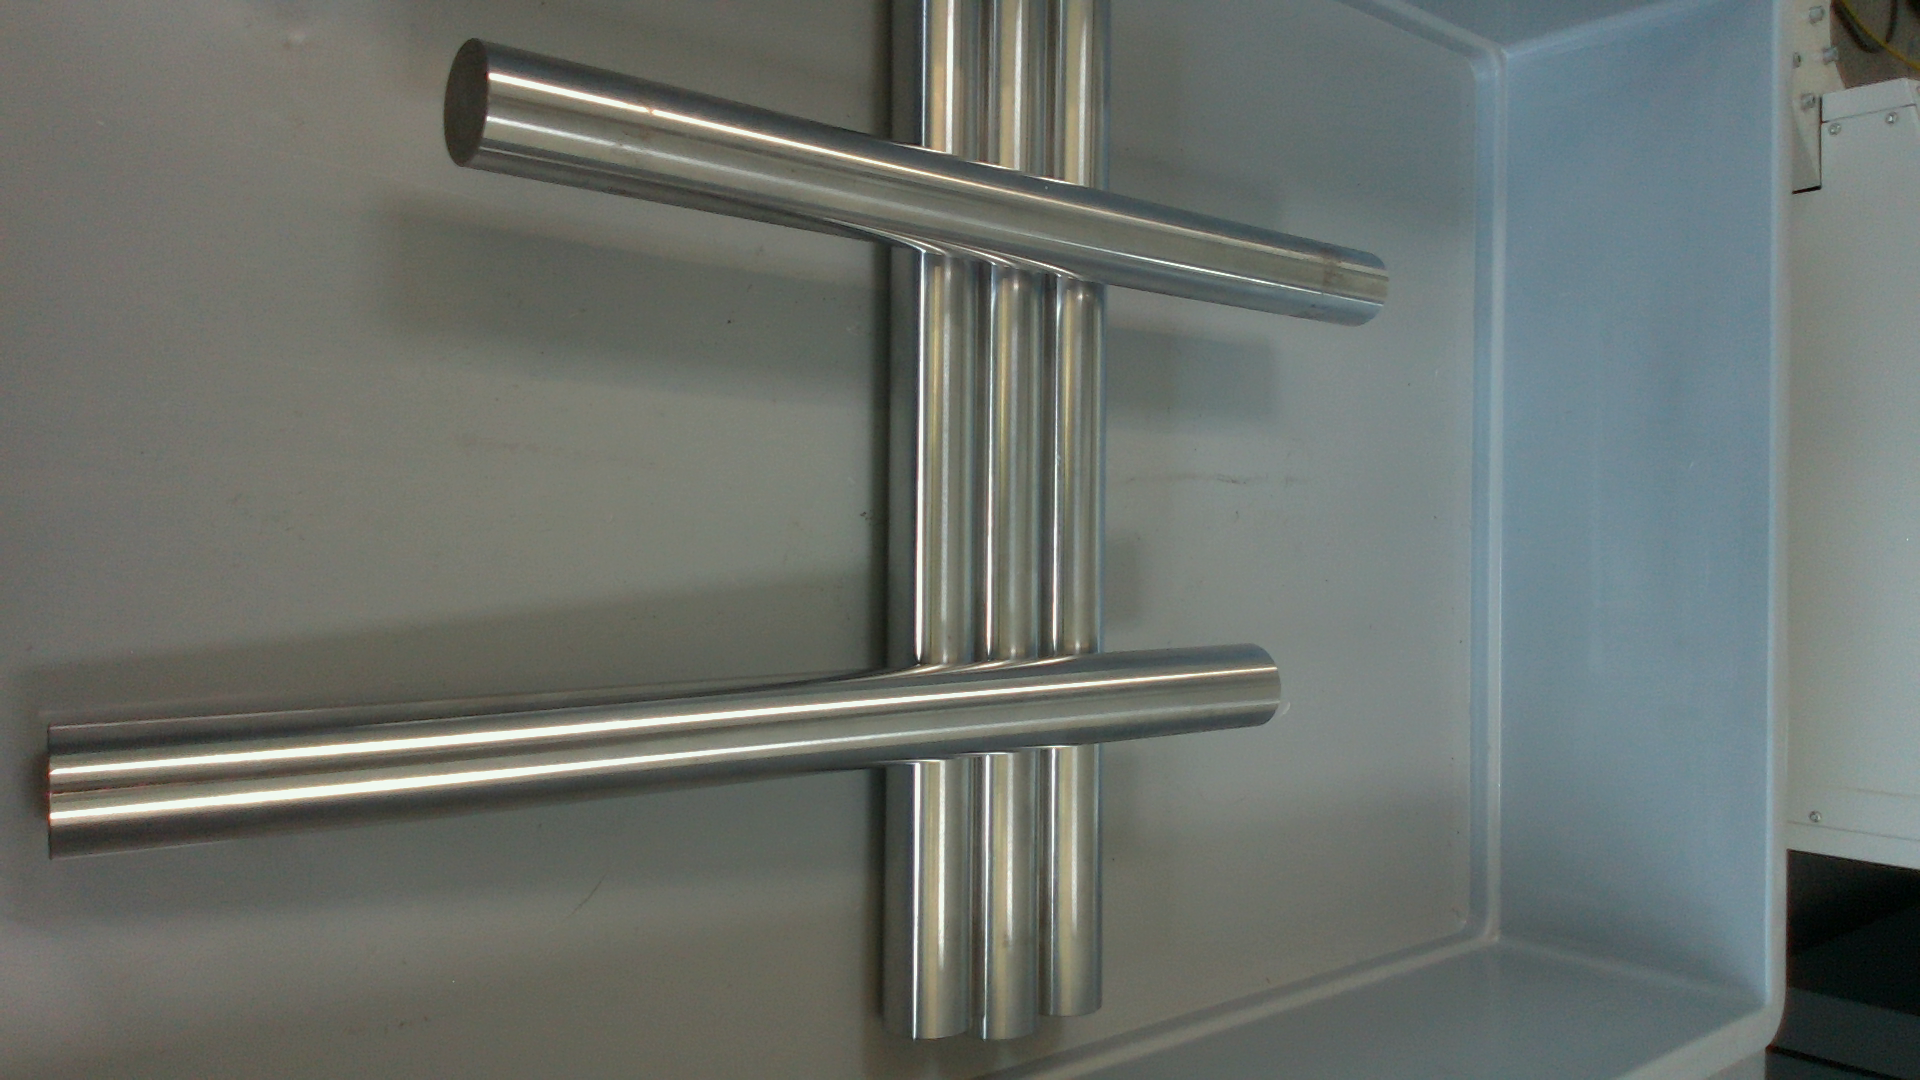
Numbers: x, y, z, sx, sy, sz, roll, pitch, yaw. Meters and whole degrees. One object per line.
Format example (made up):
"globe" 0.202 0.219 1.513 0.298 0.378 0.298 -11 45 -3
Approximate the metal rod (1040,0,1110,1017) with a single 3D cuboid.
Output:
"metal rod" 0.031 -0.011 0.413 0.025 0.025 0.300 1 89 -40

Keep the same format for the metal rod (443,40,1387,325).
"metal rod" 0.018 -0.086 0.370 0.301 0.025 0.025 0 90 -40

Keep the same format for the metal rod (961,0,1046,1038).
"metal rod" 0.011 -0.011 0.397 0.025 0.025 0.300 1 89 -40

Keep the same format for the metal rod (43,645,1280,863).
"metal rod" -0.040 0.045 0.331 0.301 0.025 0.025 0 90 -33

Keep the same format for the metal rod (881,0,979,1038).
"metal rod" -0.008 -0.017 0.382 0.025 0.025 0.300 1 90 -40
